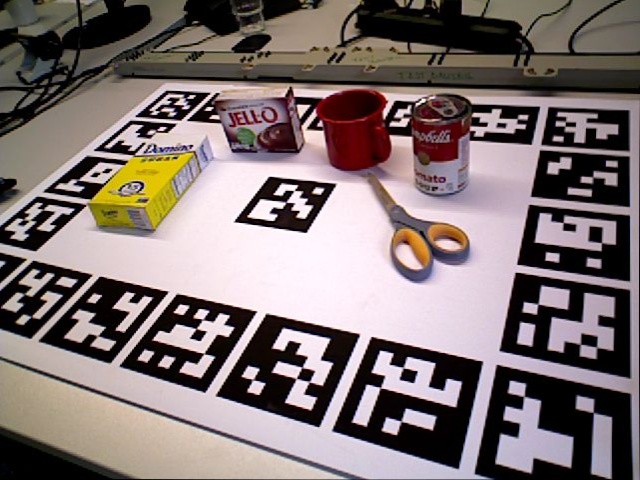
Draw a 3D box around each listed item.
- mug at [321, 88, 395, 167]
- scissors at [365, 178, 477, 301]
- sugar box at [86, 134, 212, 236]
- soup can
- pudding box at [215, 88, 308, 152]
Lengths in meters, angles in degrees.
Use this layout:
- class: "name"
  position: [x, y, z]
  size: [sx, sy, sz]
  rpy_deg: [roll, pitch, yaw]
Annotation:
- class: "mug"
  position: [0.057, -0.144, 0.708]
  size: [0.093, 0.083, 0.116]
  rpy_deg: [-18, 41, -1]
- class: "scissors"
  position: [0.095, -0.017, 0.609]
  size: [0.087, 0.016, 0.201]
  rpy_deg: [-28, 44, 0]
- class: "sugar box"
  position: [-0.232, -0.082, 0.755]
  size: [0.093, 0.046, 0.172]
  rpy_deg: [6, 47, 23]
- class: "soup can"
  position: [0.147, -0.103, 0.635]
  size: [0.068, 0.104, 0.067]
  rpy_deg: [-8, 41, 6]
- class: "pudding box"
  position: [-0.080, -0.171, 0.763]
  size: [0.114, 0.091, 0.038]
  rpy_deg: [2, 51, 17]
